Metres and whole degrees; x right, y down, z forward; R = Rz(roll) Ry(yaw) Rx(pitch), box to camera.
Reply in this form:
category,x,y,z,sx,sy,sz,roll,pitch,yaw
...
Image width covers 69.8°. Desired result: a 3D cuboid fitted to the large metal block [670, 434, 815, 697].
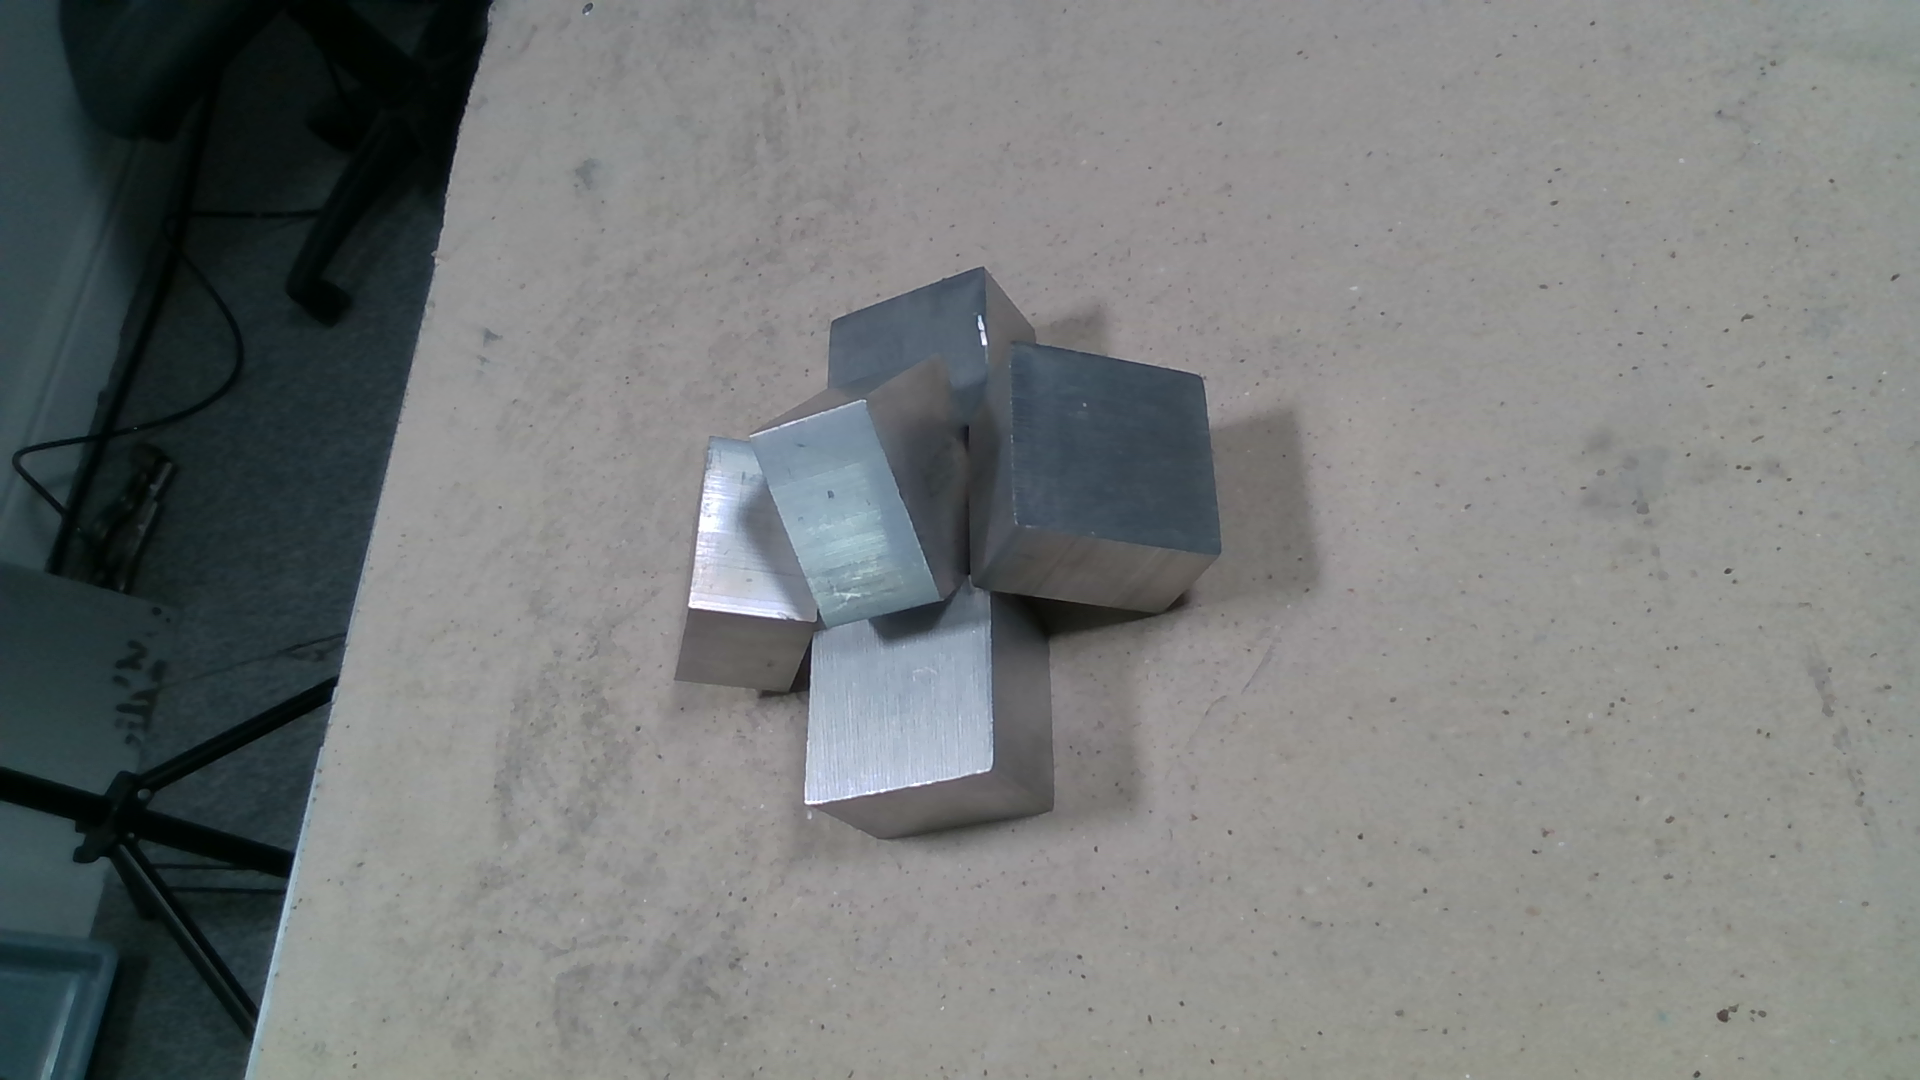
category,x,y,z,sx,sy,sz,roll,pitch,yaw
large metal block,-0.091,0.013,0.592,0.050,0.080,0.080,8,61,-12

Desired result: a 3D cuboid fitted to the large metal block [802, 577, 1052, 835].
category,x,y,z,sx,sy,sz,roll,pitch,yaw
large metal block,-0.012,0.065,0.539,0.080,0.050,0.080,-14,59,25

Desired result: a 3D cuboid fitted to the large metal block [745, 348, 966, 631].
category,x,y,z,sx,sy,sz,roll,pitch,yaw
large metal block,-0.030,-0.021,0.537,0.050,0.080,0.080,-15,14,25

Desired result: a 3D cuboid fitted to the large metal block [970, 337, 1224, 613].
category,x,y,z,sx,sy,sz,roll,pitch,yaw
large metal block,0.049,-0.023,0.524,0.050,0.080,0.080,124,150,-57

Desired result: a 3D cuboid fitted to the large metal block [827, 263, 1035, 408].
category,x,y,z,sx,sy,sz,roll,pitch,yaw
large metal block,-0.012,-0.064,0.611,0.080,0.050,0.080,-15,59,25
